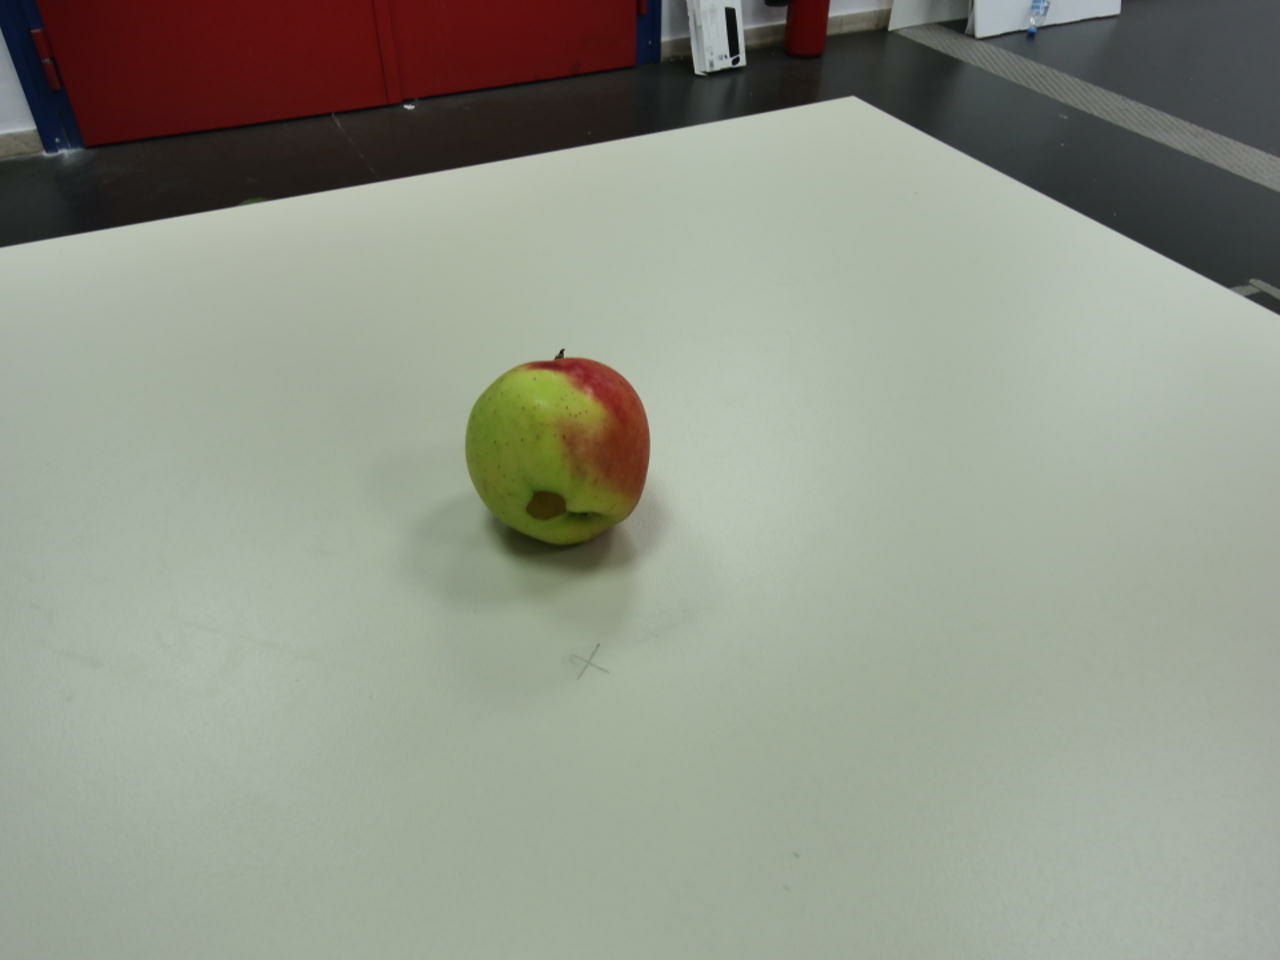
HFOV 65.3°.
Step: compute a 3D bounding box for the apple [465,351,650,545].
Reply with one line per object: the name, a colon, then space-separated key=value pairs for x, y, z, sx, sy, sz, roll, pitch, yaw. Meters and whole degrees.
apple: x=-0.032 y=-0.013 z=0.405 sx=0.075 sy=0.074 sz=0.075 roll=31 pitch=47 yaw=33
